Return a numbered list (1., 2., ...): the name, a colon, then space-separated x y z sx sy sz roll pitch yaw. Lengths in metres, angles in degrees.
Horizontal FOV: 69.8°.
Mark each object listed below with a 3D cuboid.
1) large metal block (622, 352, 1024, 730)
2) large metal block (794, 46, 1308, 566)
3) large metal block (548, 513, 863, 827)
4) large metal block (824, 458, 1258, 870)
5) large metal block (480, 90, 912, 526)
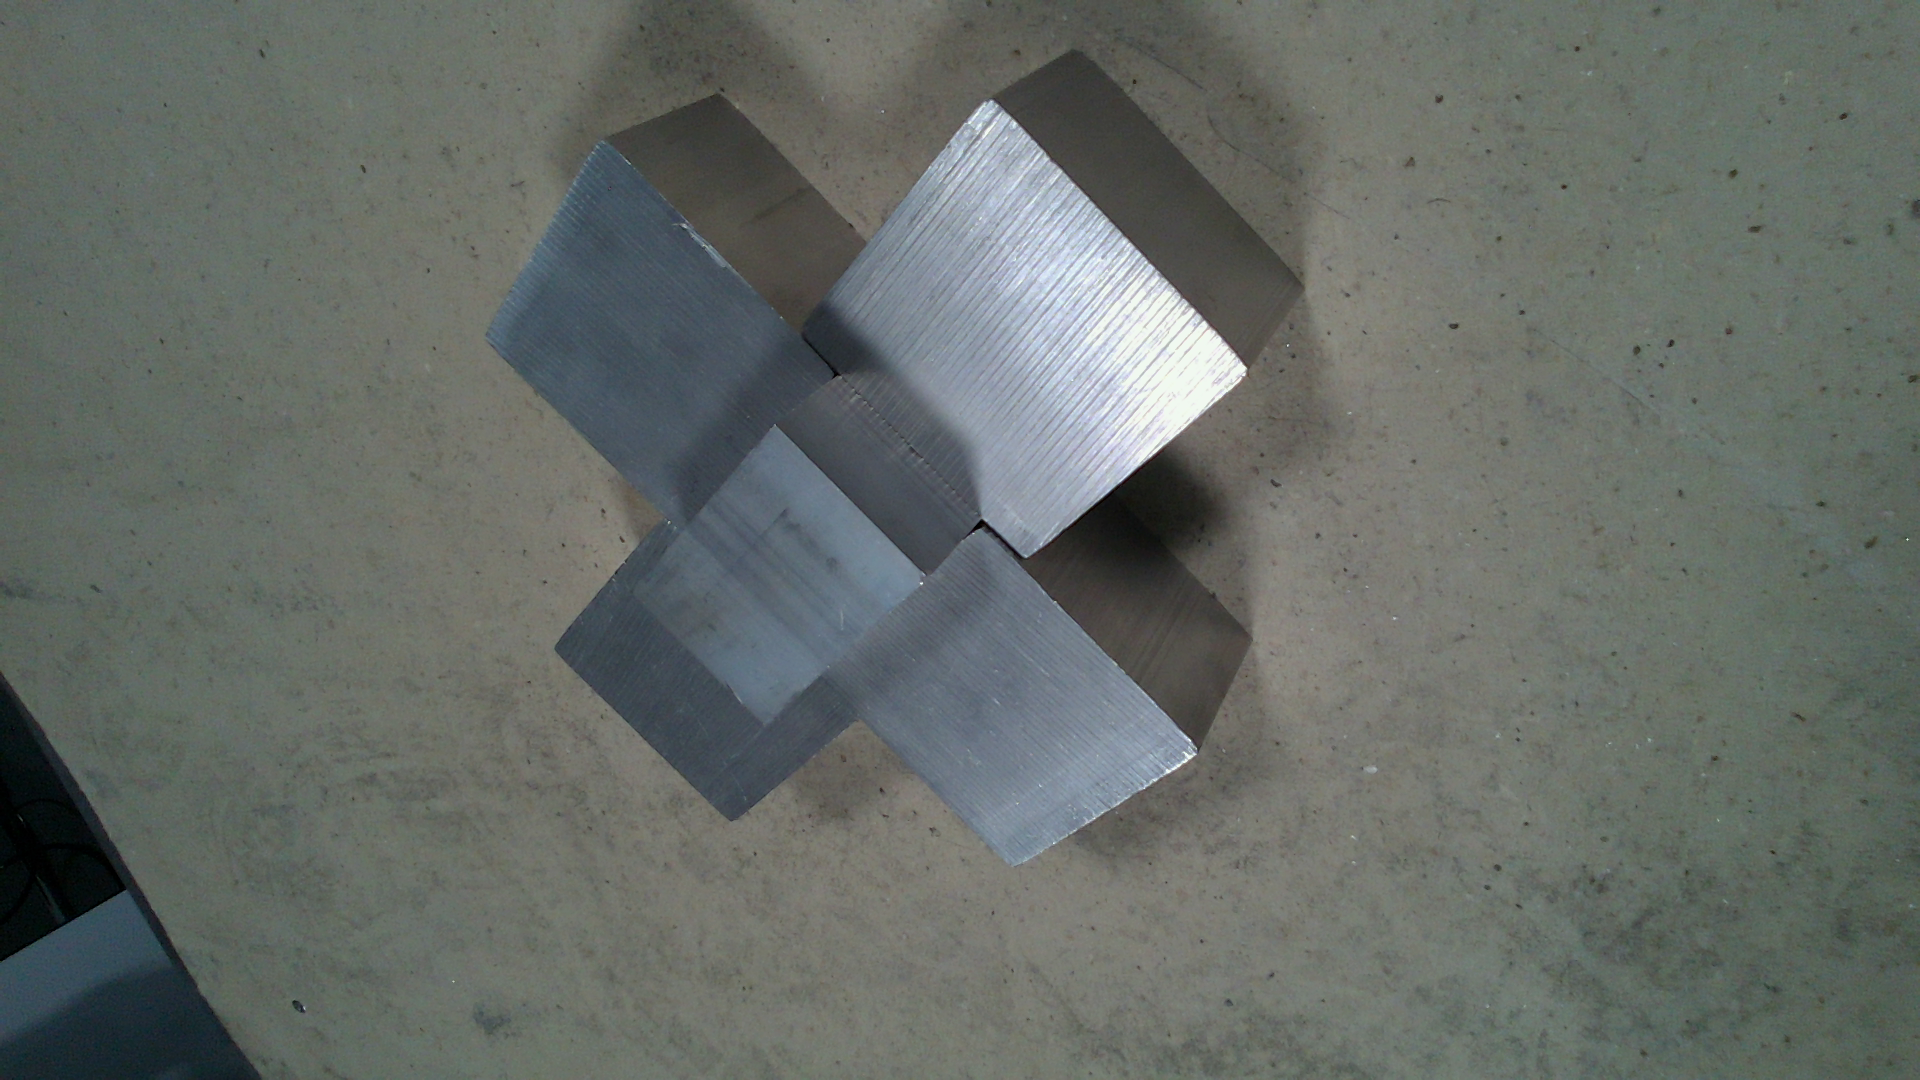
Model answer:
1. large metal block: -0.032 -0.007 0.370 0.050 0.080 0.080 45 129 -3
2. large metal block: 0.021 -0.055 0.331 0.080 0.050 0.080 45 129 -3
3. large metal block: -0.069 0.031 0.432 0.080 0.050 0.080 45 129 -3
4. large metal block: 0.021 0.033 0.385 0.080 0.050 0.080 45 129 -3
5. large metal block: -0.071 -0.060 0.377 0.080 0.050 0.080 45 129 -3
